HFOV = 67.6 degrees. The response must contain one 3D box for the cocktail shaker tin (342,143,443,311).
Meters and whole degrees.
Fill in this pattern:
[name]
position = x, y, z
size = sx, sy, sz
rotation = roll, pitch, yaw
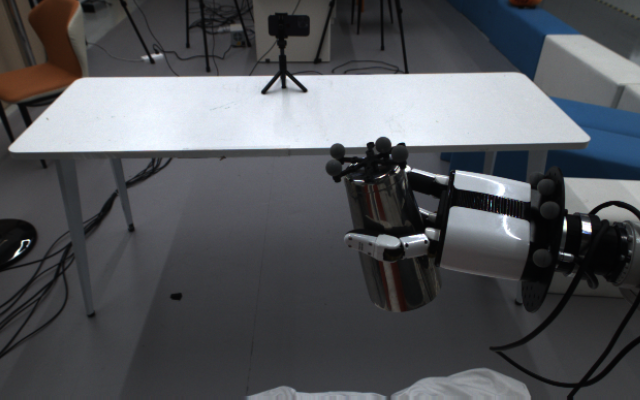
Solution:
[cocktail shaker tin]
position = 0.081, 0.035, 0.562
size = 0.093, 0.170, 0.093
rotation = -15, 29, 8
